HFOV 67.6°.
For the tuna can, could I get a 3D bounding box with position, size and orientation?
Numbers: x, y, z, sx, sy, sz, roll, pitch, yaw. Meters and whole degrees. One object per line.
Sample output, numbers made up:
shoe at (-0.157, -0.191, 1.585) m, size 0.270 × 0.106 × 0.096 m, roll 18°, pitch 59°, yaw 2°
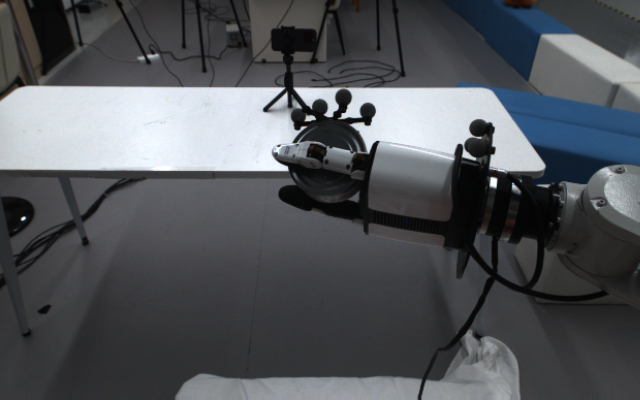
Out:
tuna can at (0.011, -0.042, 0.524) m, size 0.085 × 0.034 × 0.085 m, roll -5°, pitch 70°, yaw 14°
